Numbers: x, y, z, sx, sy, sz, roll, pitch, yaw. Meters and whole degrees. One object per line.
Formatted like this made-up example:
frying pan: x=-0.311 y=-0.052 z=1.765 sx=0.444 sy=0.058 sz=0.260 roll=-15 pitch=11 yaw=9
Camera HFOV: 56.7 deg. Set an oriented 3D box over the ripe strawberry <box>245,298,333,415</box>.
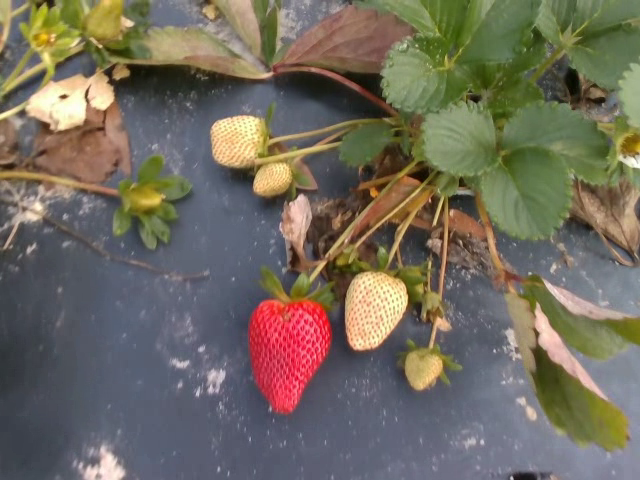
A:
ripe strawberry: x=-0.016 y=0.052 z=0.280 sx=0.050 sy=0.059 sz=0.033 roll=1 pitch=-30 yaw=-3
